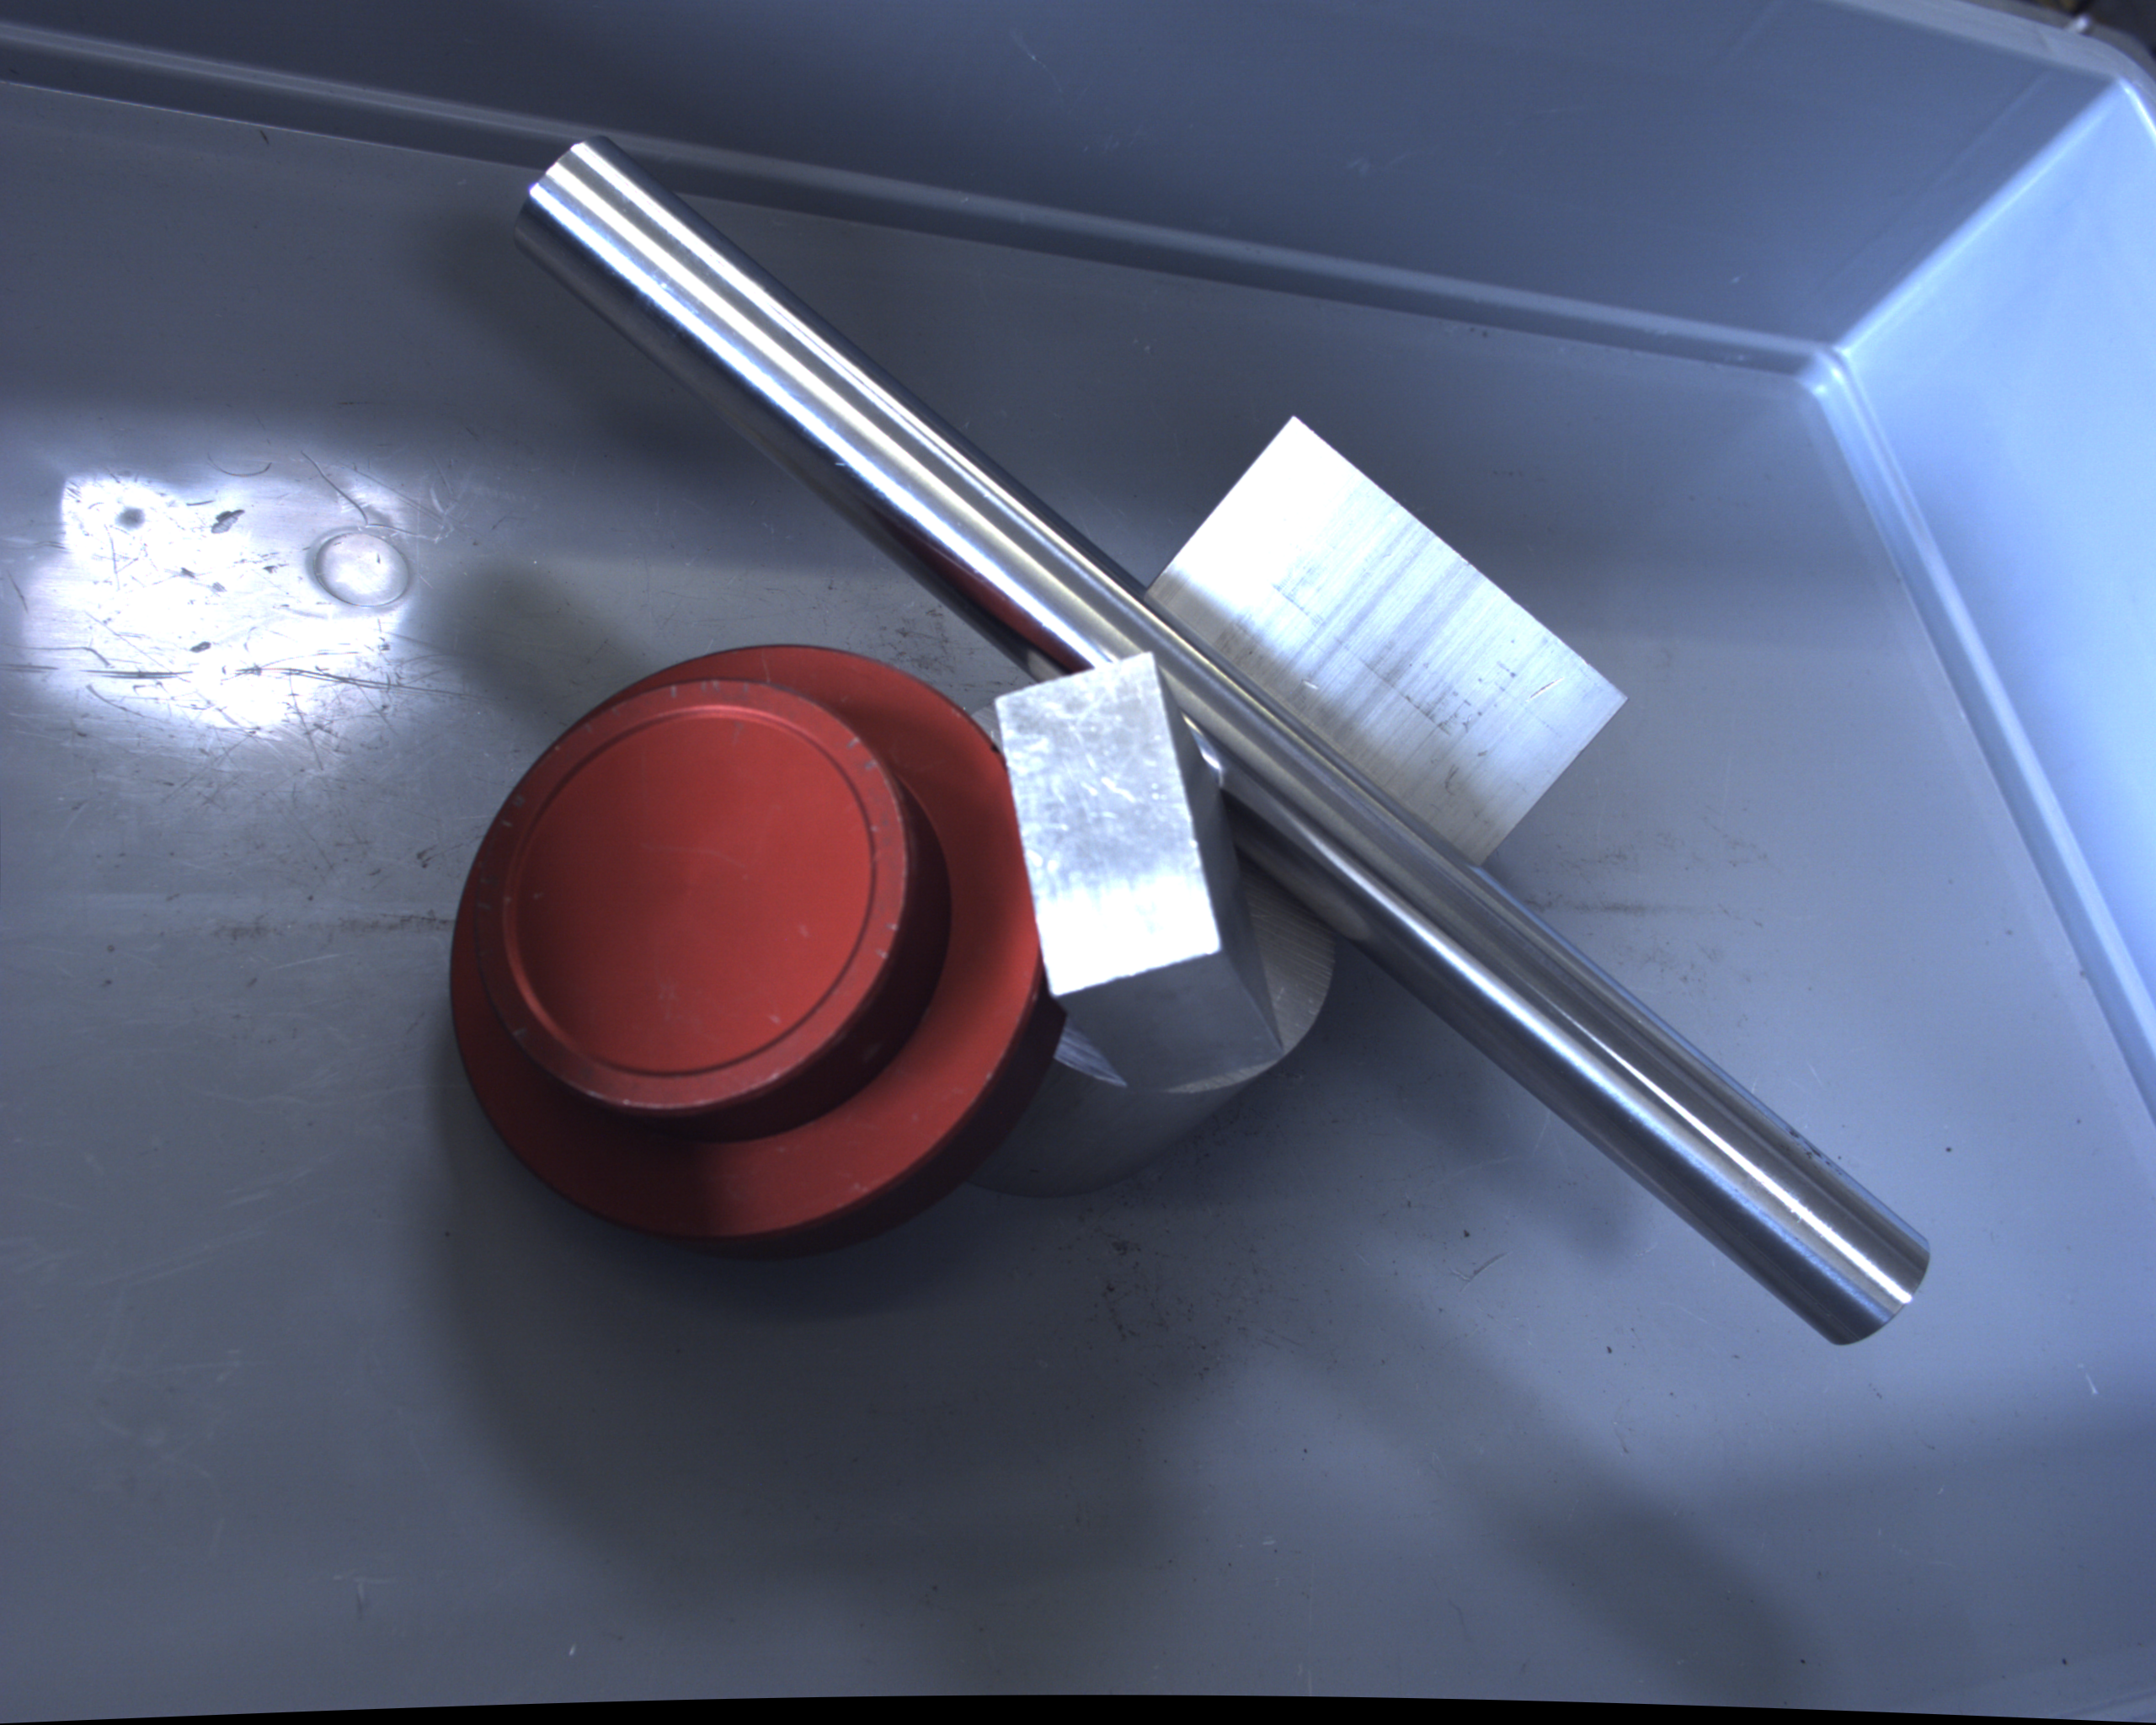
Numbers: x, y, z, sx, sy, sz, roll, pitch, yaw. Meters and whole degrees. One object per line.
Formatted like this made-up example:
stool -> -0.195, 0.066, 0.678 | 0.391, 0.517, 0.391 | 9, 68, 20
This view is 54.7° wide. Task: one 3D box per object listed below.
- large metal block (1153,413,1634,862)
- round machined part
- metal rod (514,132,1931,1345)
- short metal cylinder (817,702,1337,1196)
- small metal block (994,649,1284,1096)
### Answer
large metal block -> 0.055, -0.041, 0.415 | 0.080, 0.050, 0.080 | 39, 8, -2
round machined part -> -0.053, 0.010, 0.325 | 0.098, 0.042, 0.098 | -4, 71, 11
metal rod -> 0.026, -0.021, 0.366 | 0.300, 0.025, 0.025 | 40, 51, -1
short metal cylinder -> -0.001, 0.014, 0.378 | 0.081, 0.050, 0.080 | 14, 56, -21
small metal block -> 0.010, 0.003, 0.324 | 0.025, 0.050, 0.050 | -16, 64, 9
